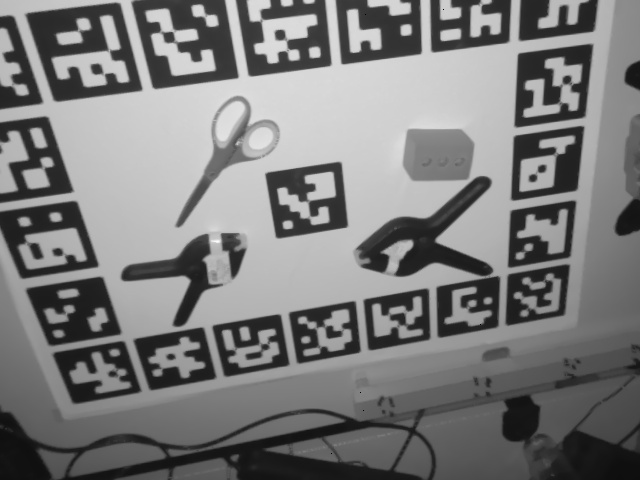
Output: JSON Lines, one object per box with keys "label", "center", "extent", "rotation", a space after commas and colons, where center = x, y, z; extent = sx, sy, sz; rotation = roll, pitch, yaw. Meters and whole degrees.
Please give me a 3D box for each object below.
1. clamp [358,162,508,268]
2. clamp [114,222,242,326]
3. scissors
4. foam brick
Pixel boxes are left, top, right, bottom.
{"label": "clamp", "center": [0.153, -0.013, 0.943], "extent": [0.203, 0.037, 0.164], "rotation": [-13, 122, -1]}
{"label": "clamp", "center": [-0.171, 0.030, 0.917], "extent": [0.164, 0.037, 0.122], "rotation": [-34, 110, 8]}
{"label": "scissors", "center": [-0.127, -0.108, 0.856], "extent": [0.088, 0.016, 0.200], "rotation": [30, 111, -14]}
{"label": "foam brick", "center": [0.154, -0.131, 0.875], "extent": [0.079, 0.051, 0.052], "rotation": [-4, 117, -12]}
